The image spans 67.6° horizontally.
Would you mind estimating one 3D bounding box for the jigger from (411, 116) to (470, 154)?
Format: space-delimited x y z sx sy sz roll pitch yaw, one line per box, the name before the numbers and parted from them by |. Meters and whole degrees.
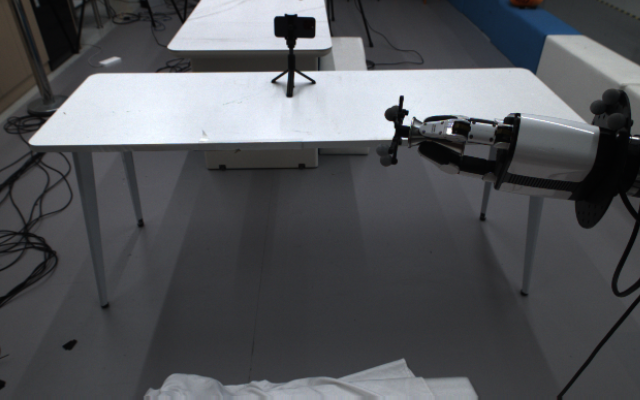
jigger | 0.154 -0.084 0.606 0.071 0.043 0.043 10 35 15
